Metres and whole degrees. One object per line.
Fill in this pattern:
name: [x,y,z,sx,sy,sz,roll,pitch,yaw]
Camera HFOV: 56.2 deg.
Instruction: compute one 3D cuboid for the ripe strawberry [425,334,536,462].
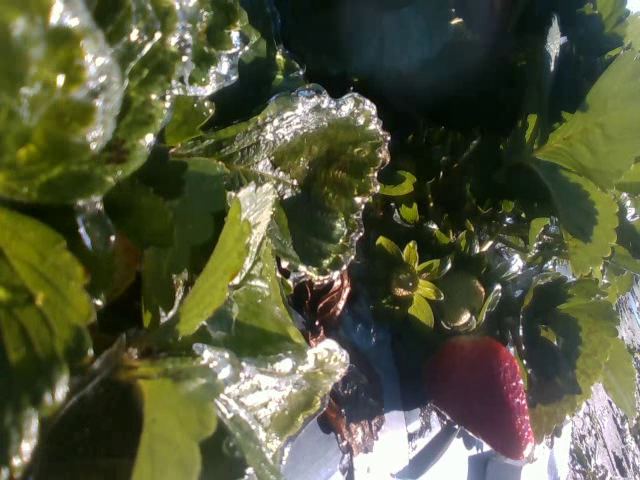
ripe strawberry: [0.087,0.087,0.306,0.057,0.062,0.065,-25,44,-3]
